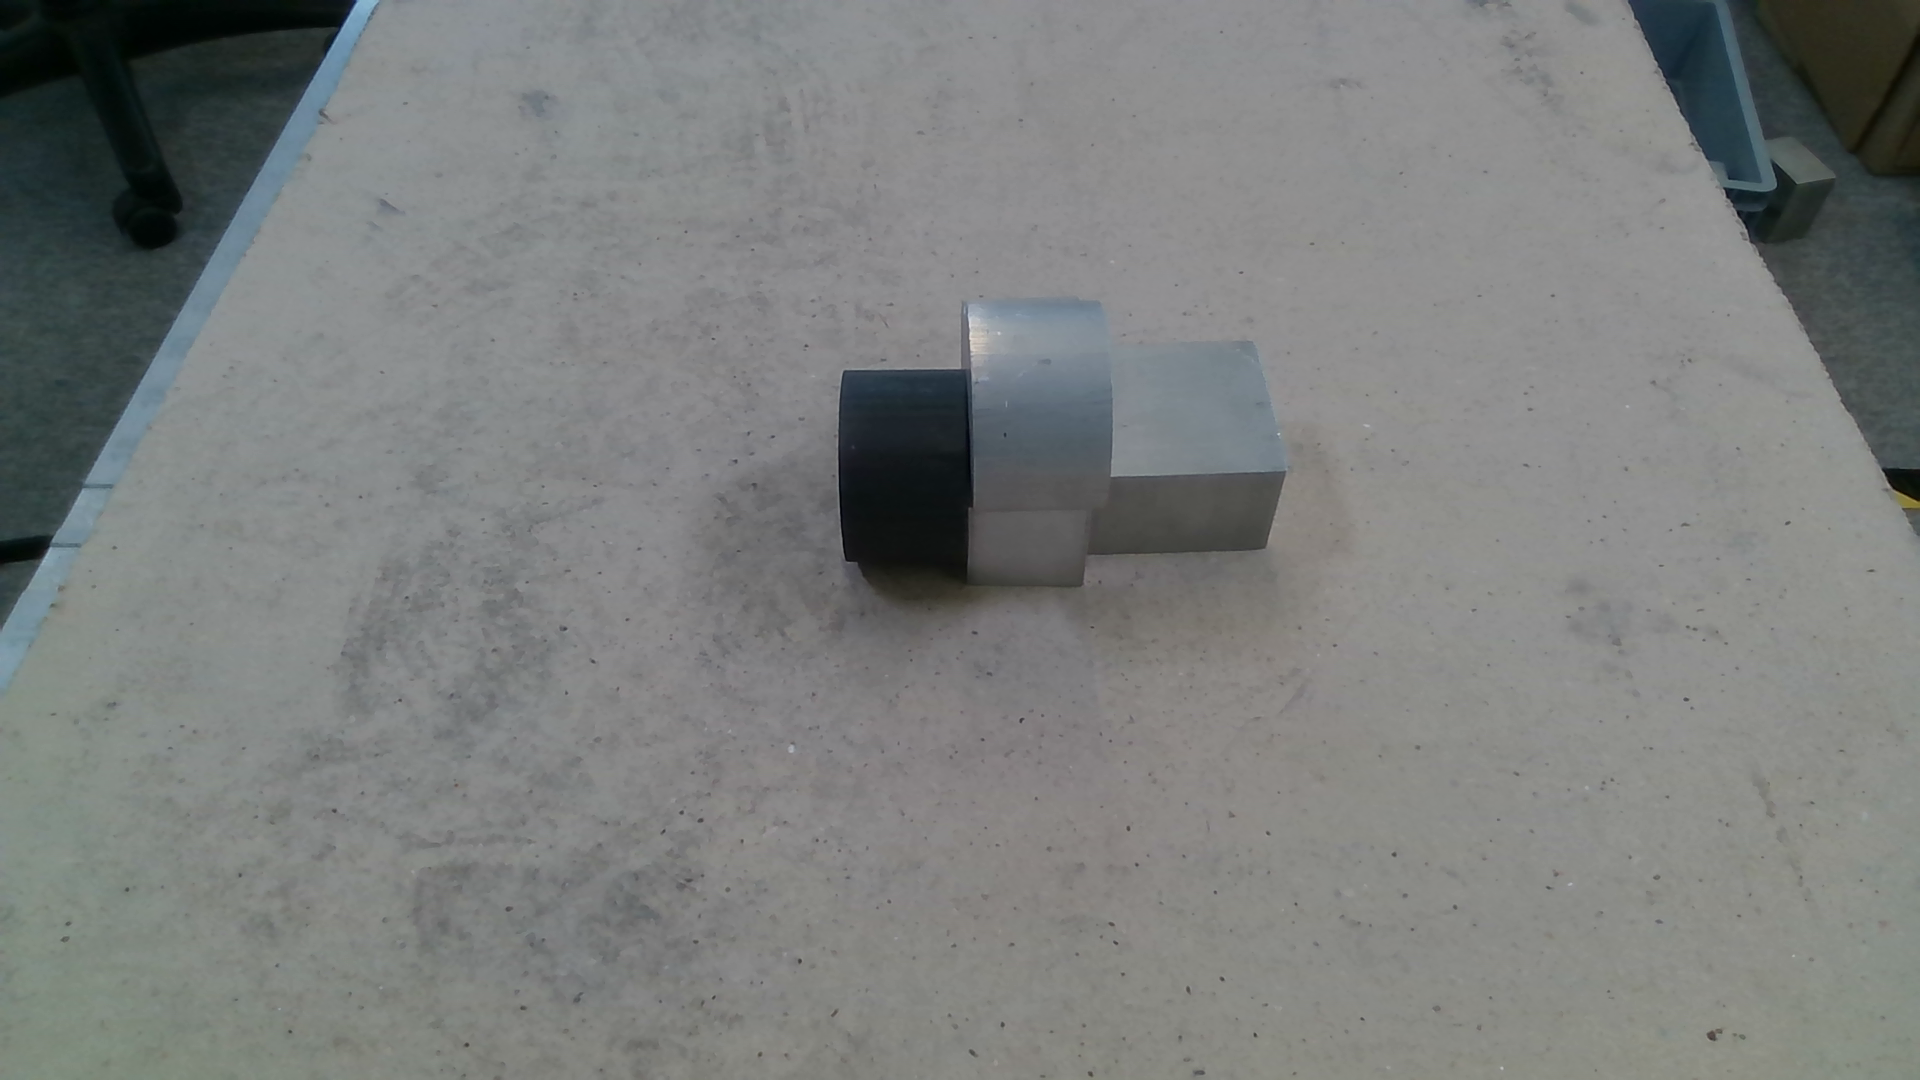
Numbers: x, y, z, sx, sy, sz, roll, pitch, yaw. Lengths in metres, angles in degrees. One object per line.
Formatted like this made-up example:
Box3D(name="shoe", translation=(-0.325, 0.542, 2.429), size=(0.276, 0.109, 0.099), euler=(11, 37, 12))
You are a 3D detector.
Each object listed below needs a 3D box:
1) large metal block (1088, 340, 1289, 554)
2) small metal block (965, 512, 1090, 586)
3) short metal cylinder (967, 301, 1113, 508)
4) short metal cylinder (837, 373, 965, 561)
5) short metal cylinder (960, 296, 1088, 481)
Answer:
Box3D(name="large metal block", translation=(0.093, -0.041, 0.607), size=(0.080, 0.050, 0.080), euler=(-2, 50, -1))
Box3D(name="small metal block", translation=(0.027, -0.006, 0.579), size=(0.050, 0.050, 0.025), euler=(1, 50, 1))
Box3D(name="short metal cylinder", translation=(0.029, -0.052, 0.530), size=(0.050, 0.080, 0.080), euler=(-2, 50, -1))
Box3D(name="short metal cylinder", translation=(-0.023, -0.031, 0.579), size=(0.050, 0.080, 0.080), euler=(0, 50, 0))
Box3D(name="short metal cylinder", translation=(0.027, -0.067, 0.608), size=(0.050, 0.080, 0.080), euler=(-2, 50, -1))
